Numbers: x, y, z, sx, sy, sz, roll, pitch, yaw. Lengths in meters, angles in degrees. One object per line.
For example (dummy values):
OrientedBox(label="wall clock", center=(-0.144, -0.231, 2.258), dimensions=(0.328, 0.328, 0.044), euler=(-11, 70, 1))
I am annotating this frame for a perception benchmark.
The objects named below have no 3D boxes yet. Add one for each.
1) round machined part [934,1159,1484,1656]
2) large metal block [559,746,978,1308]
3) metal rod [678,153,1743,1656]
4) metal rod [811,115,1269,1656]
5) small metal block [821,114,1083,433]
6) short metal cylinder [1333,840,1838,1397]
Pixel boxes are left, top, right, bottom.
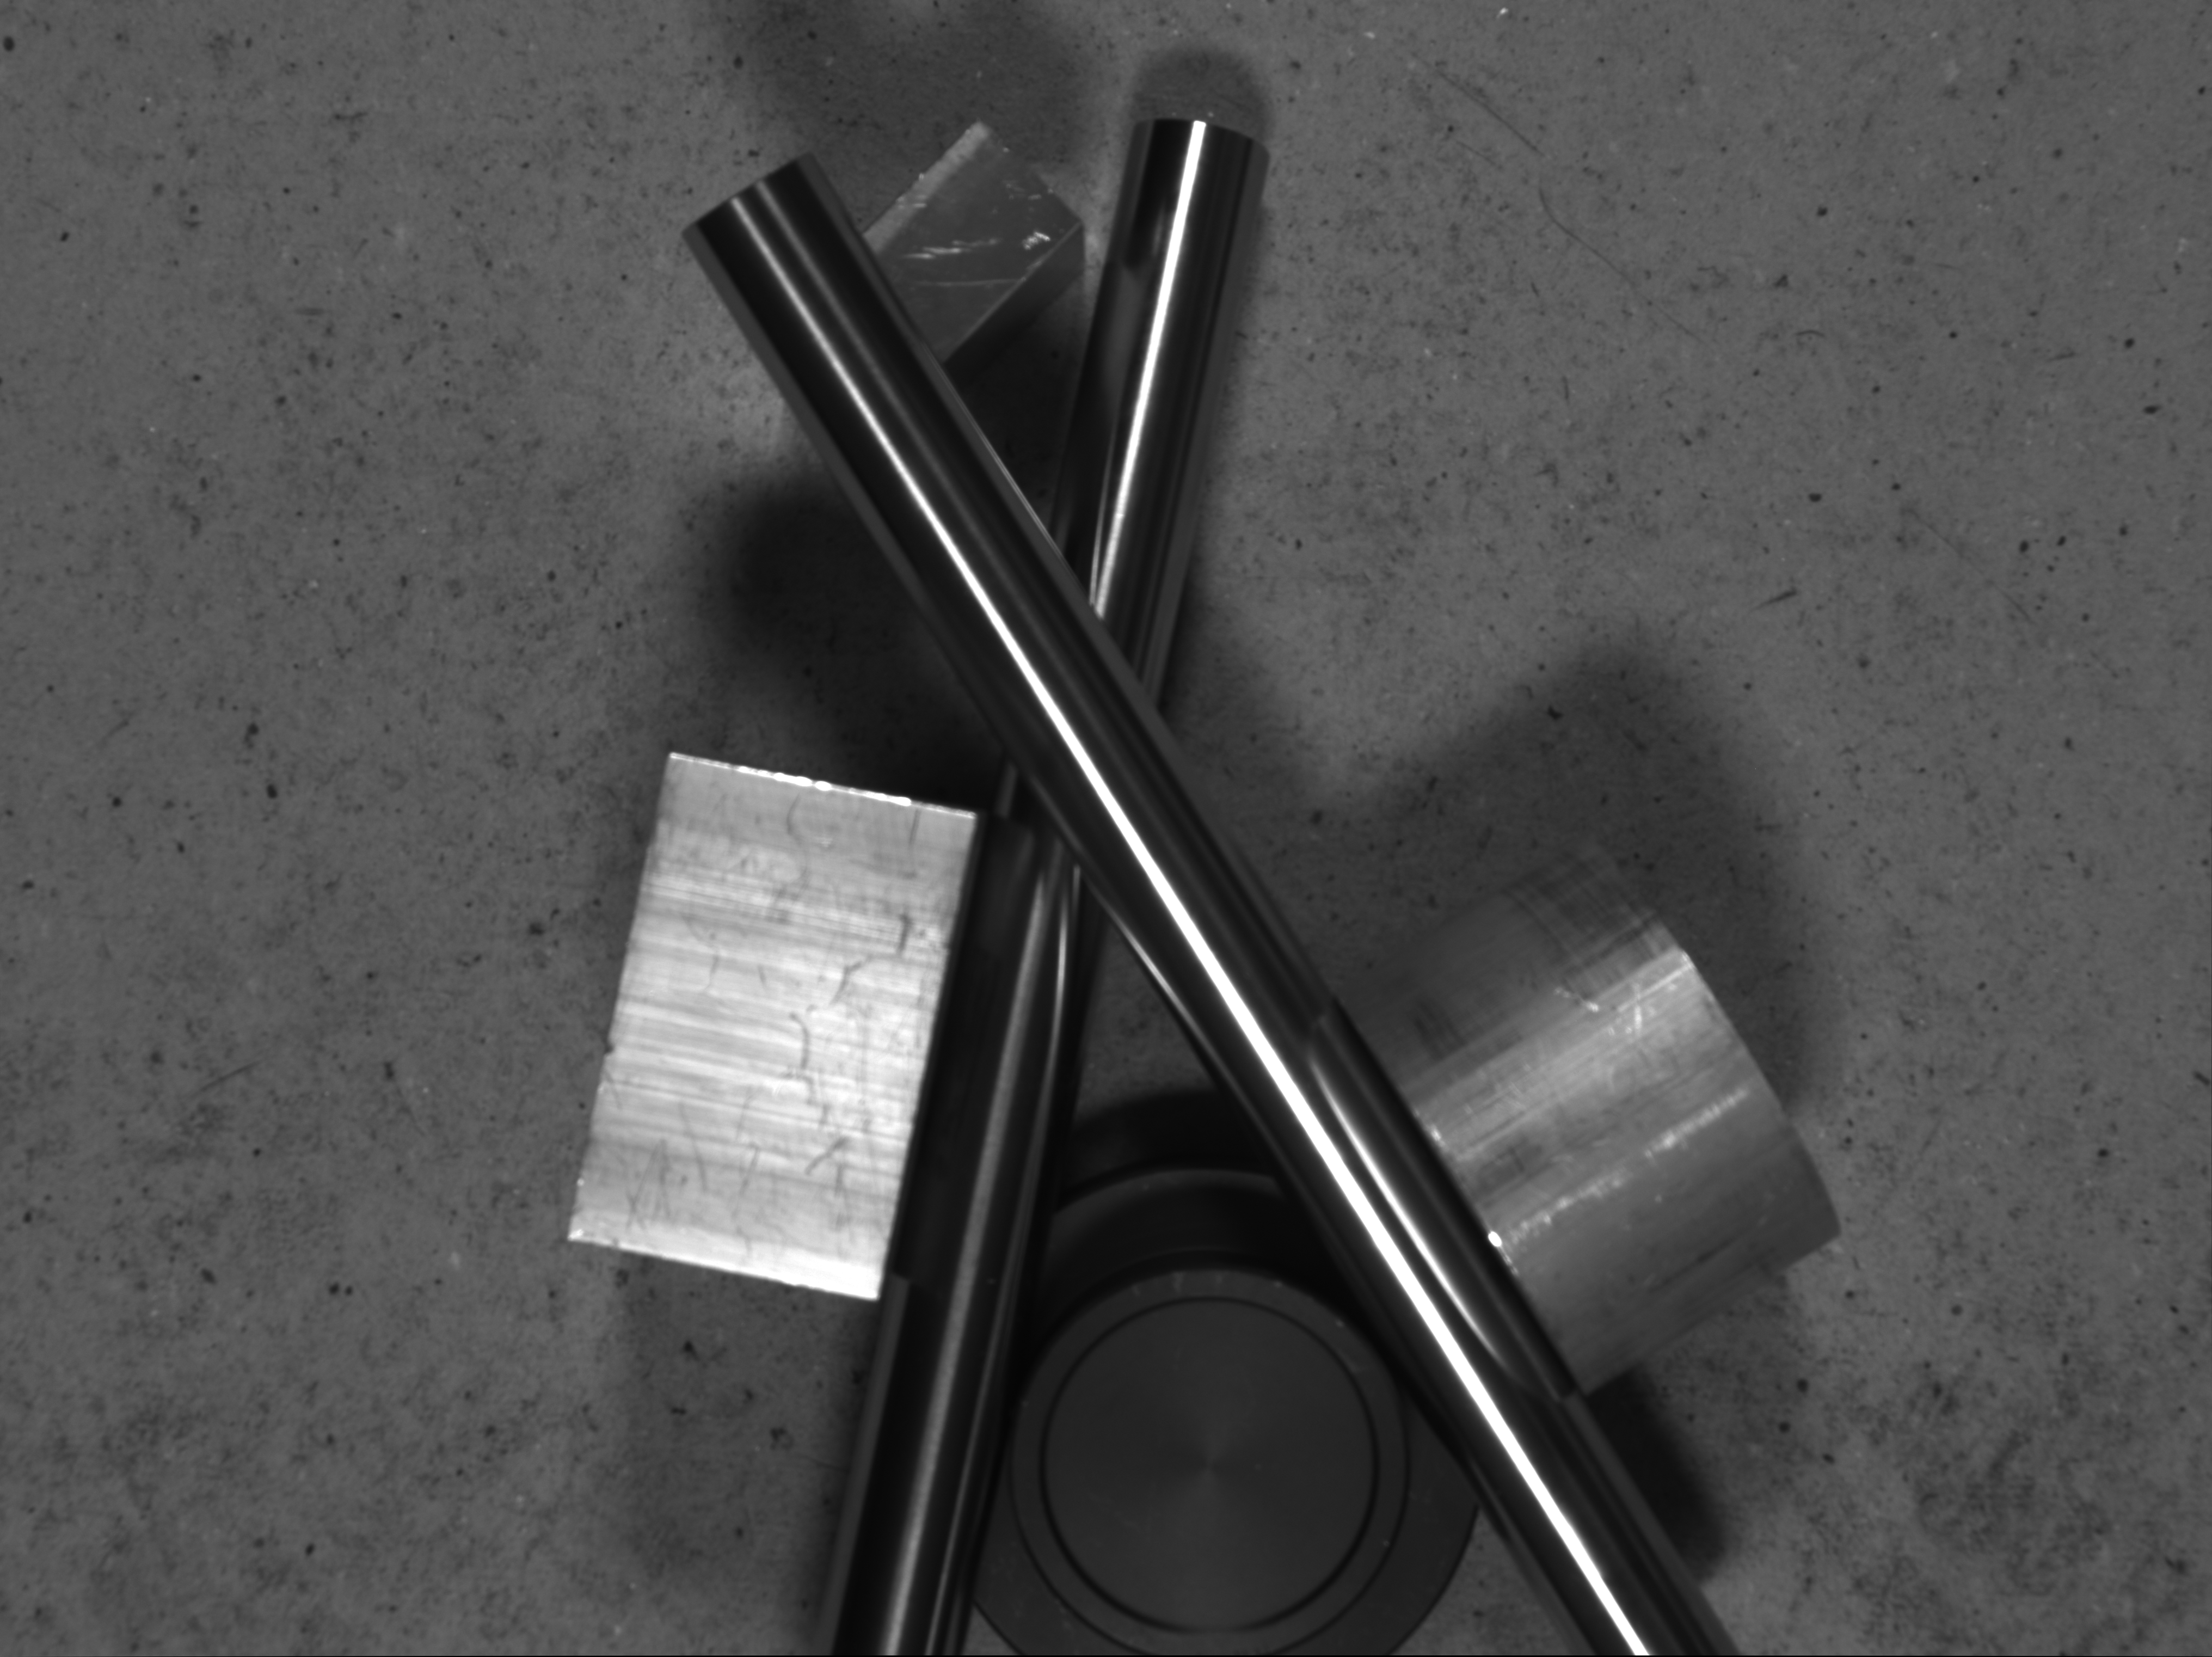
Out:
OrientedBox(label="round machined part", center=(0.017, 0.108, 0.637), dimensions=(0.098, 0.042, 0.098), euler=(0, 90, 0))
OrientedBox(label="large metal block", center=(-0.054, 0.031, 0.617), dimensions=(0.050, 0.080, 0.080), euler=(12, 90, 0))
OrientedBox(label="metal rod", center=(0.021, 0.024, 0.611), dimensions=(0.025, 0.025, 0.300), euler=(-32, 99, 0))
OrientedBox(label="metal rod", center=(-0.013, 0.025, 0.630), dimensions=(0.025, 0.025, 0.300), euler=(12, 84, 0))
OrientedBox(label="small metal block", center=(-0.031, -0.092, 0.632), dimensions=(0.050, 0.050, 0.025), euler=(-45, 90, 0))
OrientedBox(label="short metal cylinder", center=(0.080, 0.049, 0.619), dimensions=(0.050, 0.080, 0.080), euler=(-32, 90, 0))
